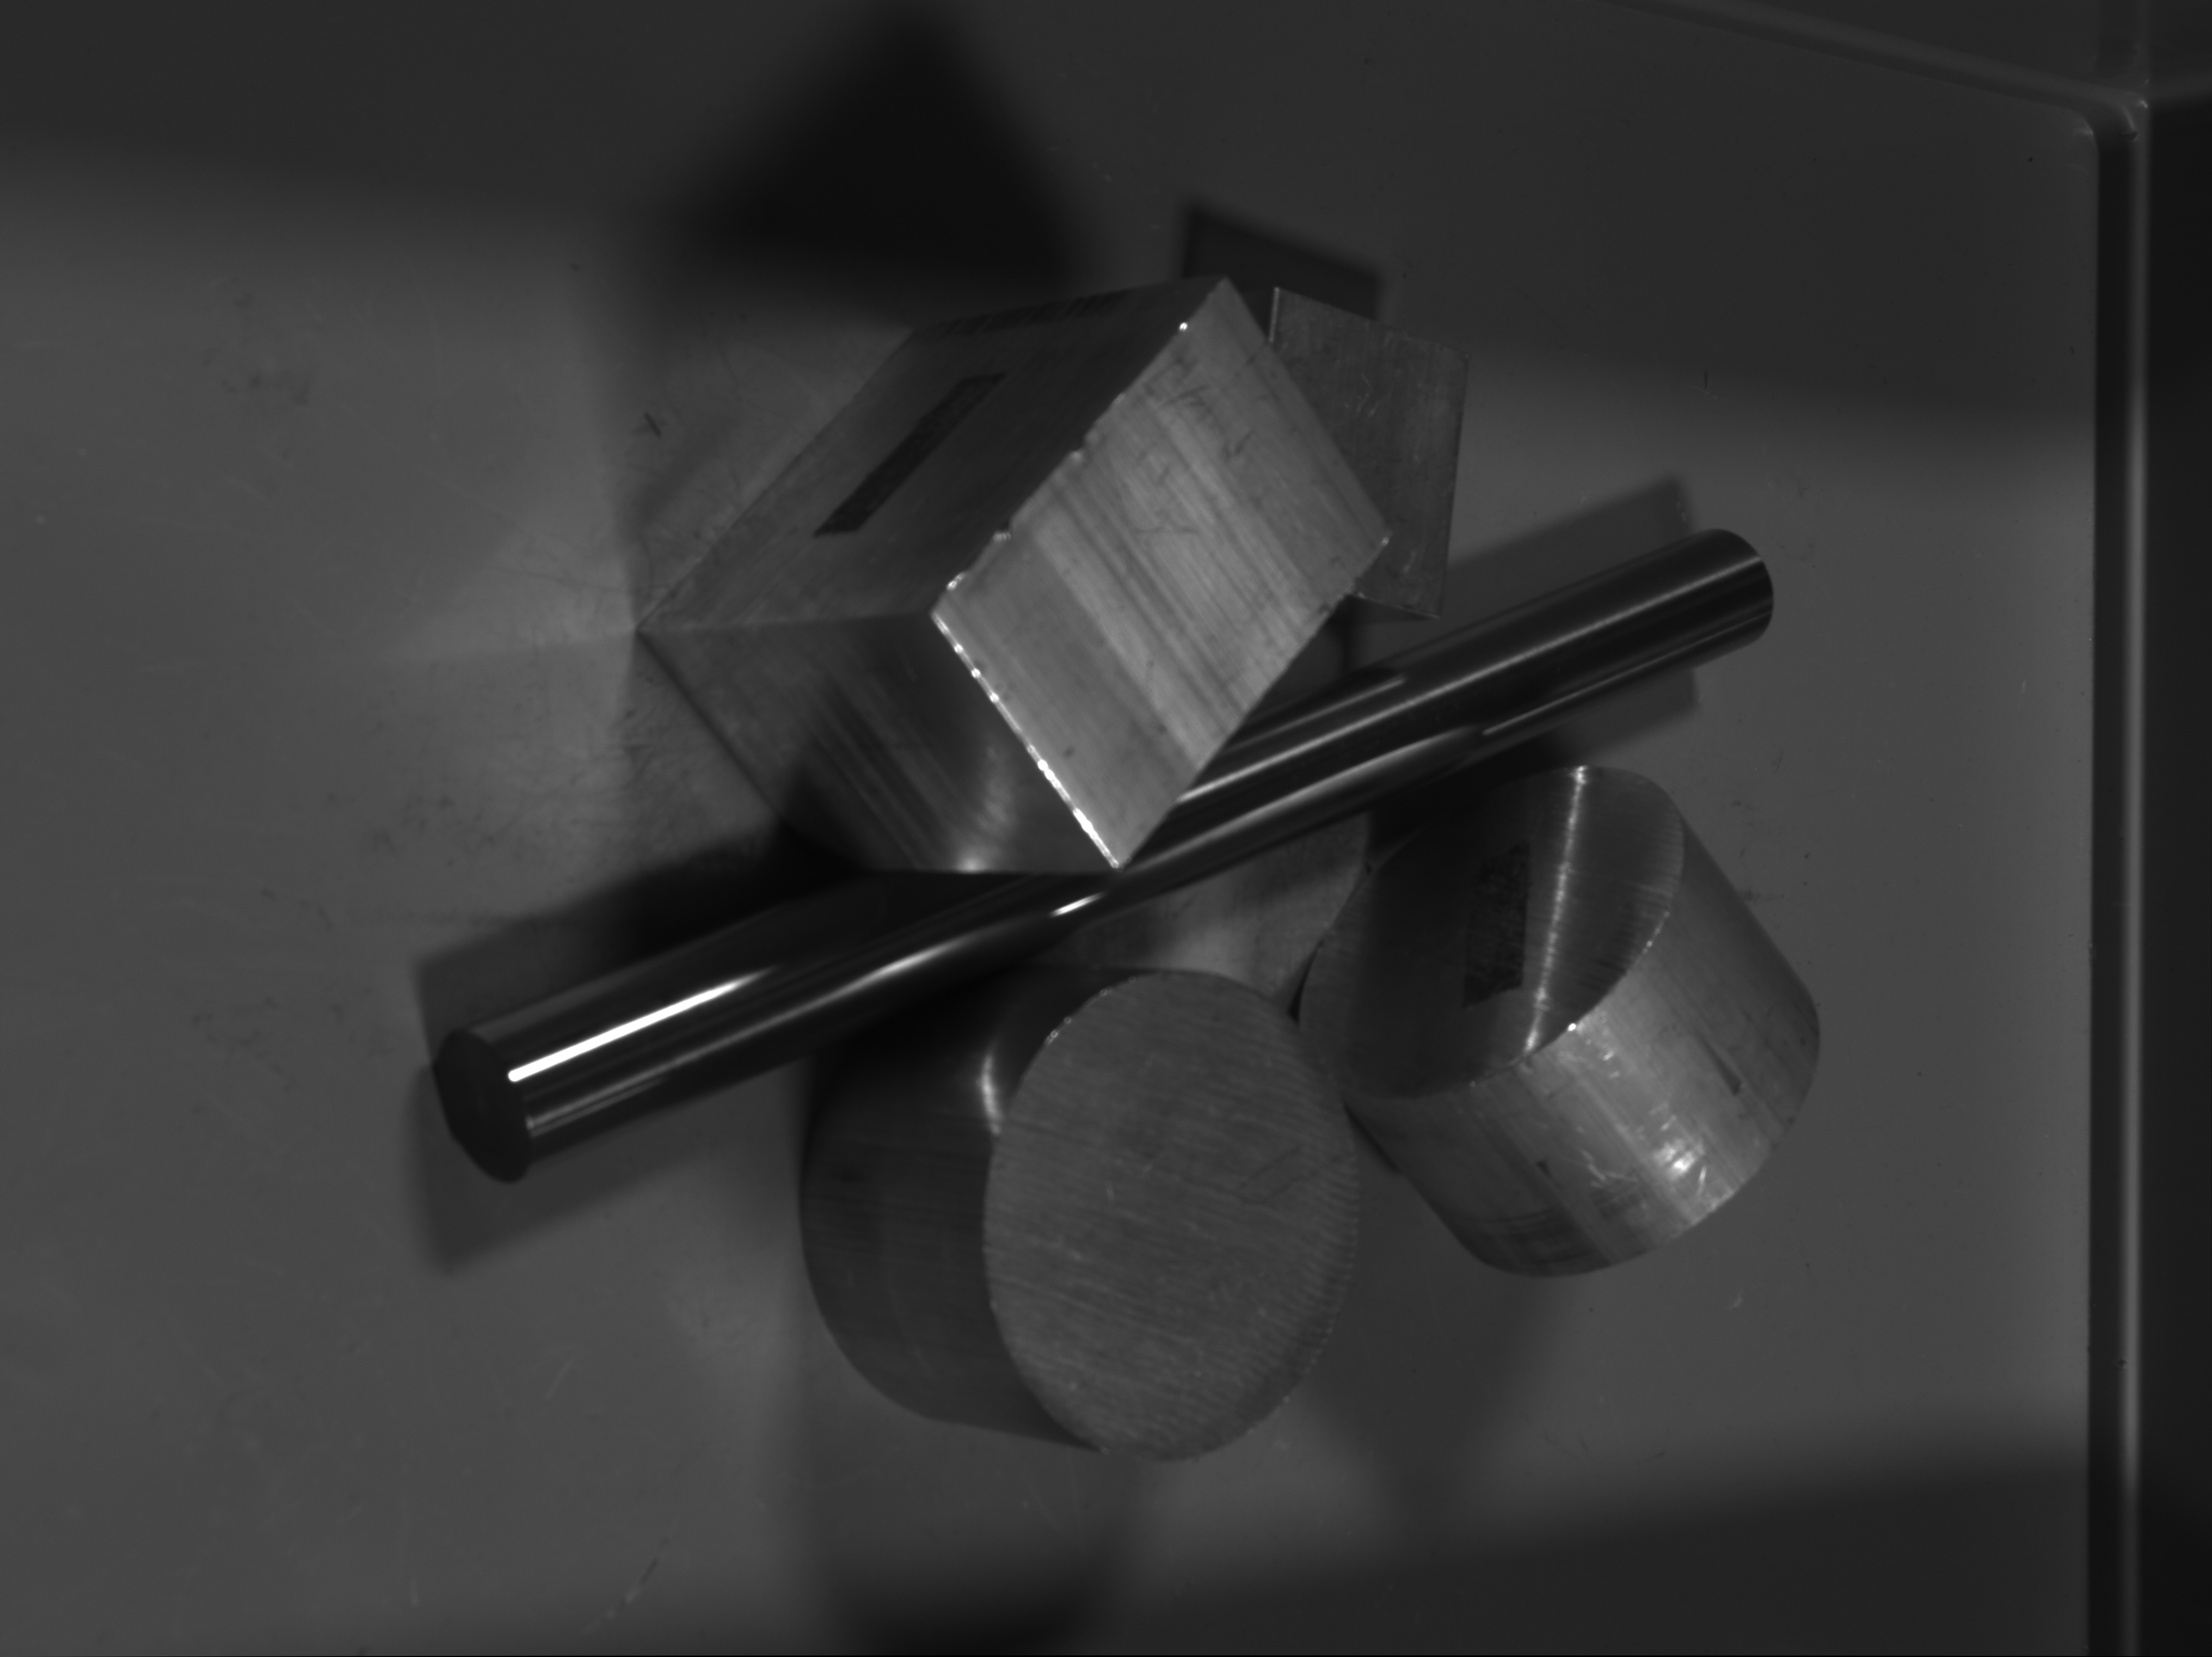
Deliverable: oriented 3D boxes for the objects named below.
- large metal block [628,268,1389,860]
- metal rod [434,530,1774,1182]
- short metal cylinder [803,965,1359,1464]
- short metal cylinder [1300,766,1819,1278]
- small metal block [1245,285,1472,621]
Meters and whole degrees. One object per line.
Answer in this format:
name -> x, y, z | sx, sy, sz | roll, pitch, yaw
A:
large metal block -> -0.016, -0.041, 0.588 | 0.080, 0.080, 0.050 | -51, 120, -28
metal rod -> 0.015, -0.003, 0.649 | 0.301, 0.025, 0.025 | -22, 104, -38
short metal cylinder -> -0.004, 0.063, 0.616 | 0.080, 0.050, 0.080 | 0, 90, -40
short metal cylinder -> 0.083, 0.035, 0.669 | 0.050, 0.080, 0.080 | 50, 61, -28
small metal block -> 0.038, -0.067, 0.667 | 0.050, 0.025, 0.050 | 11, 83, -39
